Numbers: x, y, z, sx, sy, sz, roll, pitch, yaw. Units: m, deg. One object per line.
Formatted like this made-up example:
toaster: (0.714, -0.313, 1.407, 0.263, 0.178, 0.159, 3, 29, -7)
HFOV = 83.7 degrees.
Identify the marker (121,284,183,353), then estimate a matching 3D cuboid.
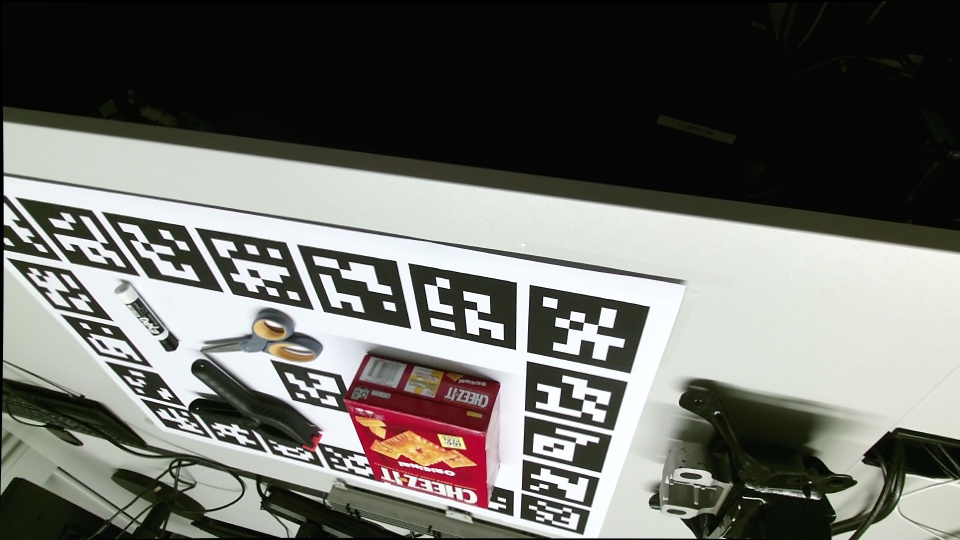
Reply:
marker: (-0.411, 0.065, 0.678, 0.020, 0.019, 0.121, 7, 137, 13)

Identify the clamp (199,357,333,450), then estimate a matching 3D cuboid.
clamp: (-0.316, 0.212, 0.801, 0.203, 0.036, 0.165, 31, 138, -11)

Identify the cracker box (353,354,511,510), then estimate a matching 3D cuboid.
cracker box: (-0.052, 0.205, 0.650, 0.165, 0.072, 0.214, 11, 137, 10)

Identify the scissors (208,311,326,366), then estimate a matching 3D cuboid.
scissors: (-0.273, 0.092, 0.654, 0.203, 0.016, 0.088, -12, 130, 33)
